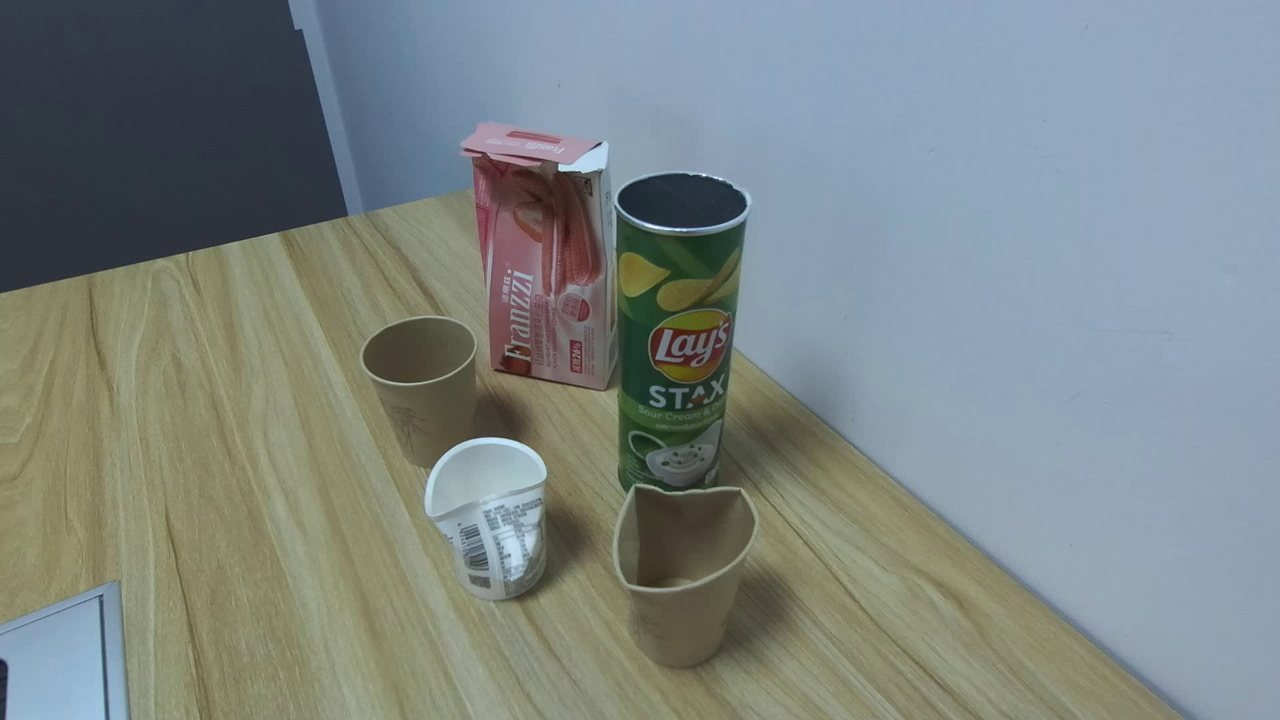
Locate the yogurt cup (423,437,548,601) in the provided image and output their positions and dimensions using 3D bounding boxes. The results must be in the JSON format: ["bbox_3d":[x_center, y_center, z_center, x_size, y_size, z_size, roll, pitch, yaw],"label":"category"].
[{"bbox_3d":[-0.084,0.093,0.406,0.067,0.070,0.067,-2,38,2],"label":"yogurt cup"}]

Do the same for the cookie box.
[{"bbox_3d":[-0.070,-0.068,0.519,0.118,0.184,0.055,13,38,17],"label":"cookie box"}]

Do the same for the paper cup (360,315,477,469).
[{"bbox_3d":[-0.142,0.026,0.477,0.075,0.082,0.075,0,36,0],"label":"paper cup"}]

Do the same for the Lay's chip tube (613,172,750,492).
[{"bbox_3d":[0.022,-0.003,0.416,0.071,0.203,0.071,0,38,0],"label":"Lay's chip tube"}]

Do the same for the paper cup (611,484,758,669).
[{"bbox_3d":[0.023,0.115,0.364,0.071,0.084,0.066,1,39,3],"label":"paper cup"}]
